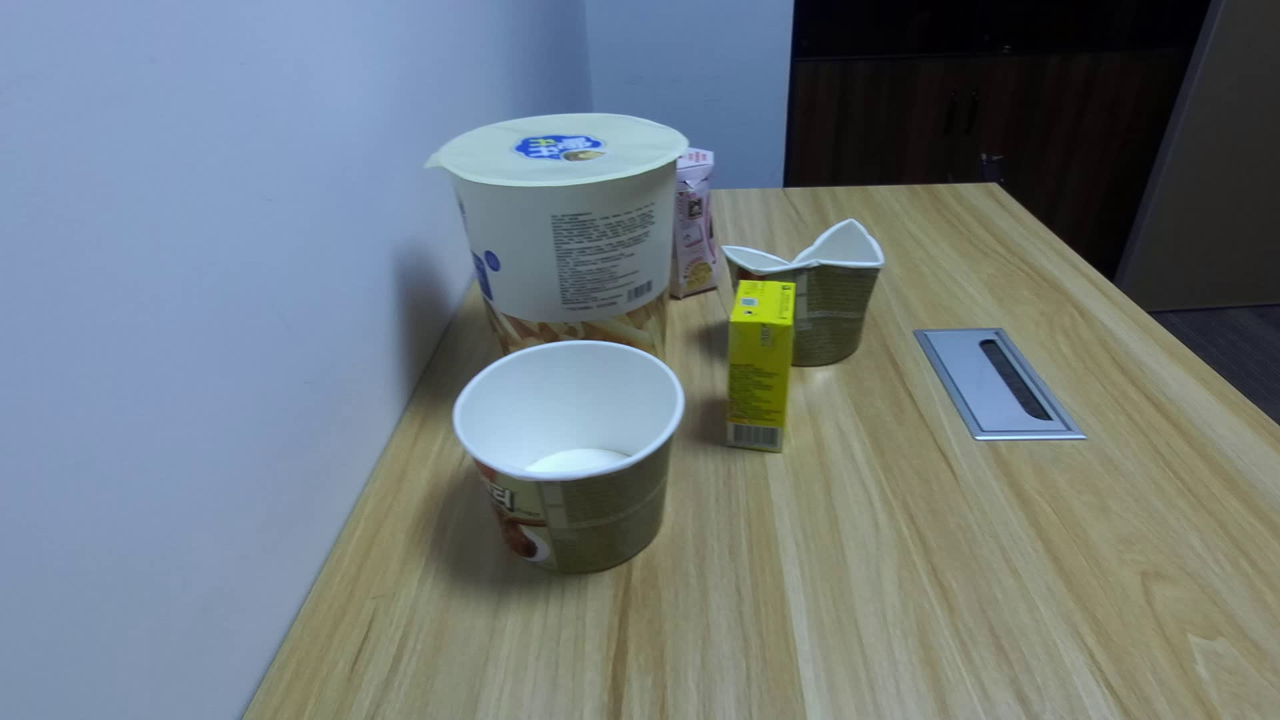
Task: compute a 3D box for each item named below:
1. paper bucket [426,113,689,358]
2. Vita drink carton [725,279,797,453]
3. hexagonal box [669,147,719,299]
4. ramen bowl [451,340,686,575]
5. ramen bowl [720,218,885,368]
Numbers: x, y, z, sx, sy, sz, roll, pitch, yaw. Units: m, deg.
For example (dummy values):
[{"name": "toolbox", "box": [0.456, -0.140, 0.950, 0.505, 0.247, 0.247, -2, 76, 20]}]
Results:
[{"name": "paper bucket", "box": [-0.052, -0.082, 0.586, 0.198, 0.195, 0.198, -2, 32, 2]}, {"name": "Vita drink carton", "box": [0.088, 0.004, 0.518, 0.043, 0.109, 0.066, 5, 33, 12]}, {"name": "hexagonal box", "box": [0.038, -0.140, 0.727, 0.089, 0.135, 0.091, 21, 38, 41]}, {"name": "ramen bowl", "box": [-0.041, 0.063, 0.454, 0.140, 0.095, 0.140, -2, 33, 1]}, {"name": "ramen bowl", "box": [0.138, -0.062, 0.630, 0.128, 0.093, 0.111, -4, 34, -3]}]
